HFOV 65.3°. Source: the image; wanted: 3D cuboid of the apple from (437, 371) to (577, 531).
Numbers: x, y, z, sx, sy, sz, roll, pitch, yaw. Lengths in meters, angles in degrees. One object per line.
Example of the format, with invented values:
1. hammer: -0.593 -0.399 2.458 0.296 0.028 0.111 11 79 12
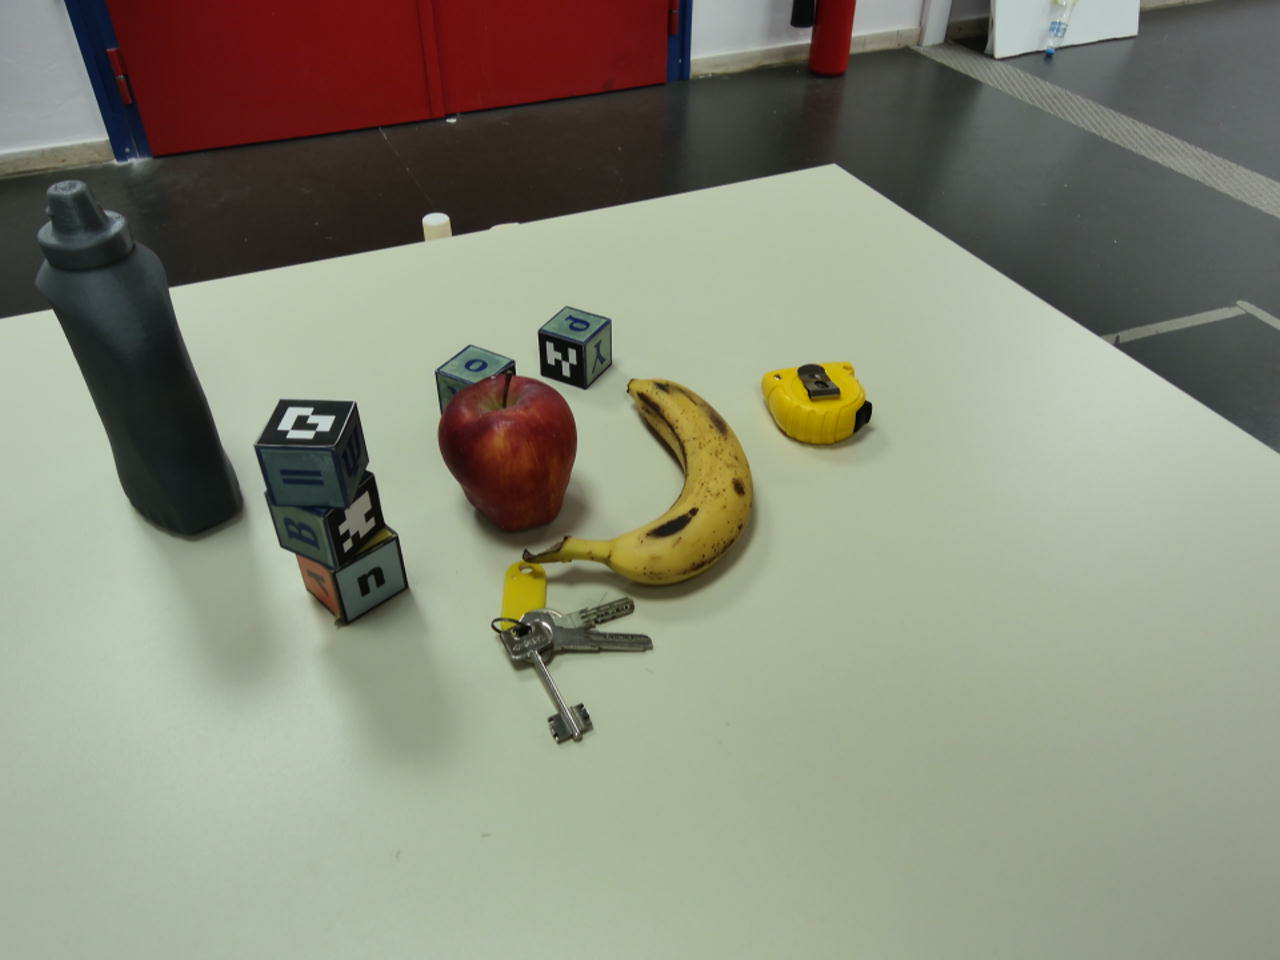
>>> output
1. apple: -0.074 -0.021 0.564 0.083 0.090 0.083 0 39 0
